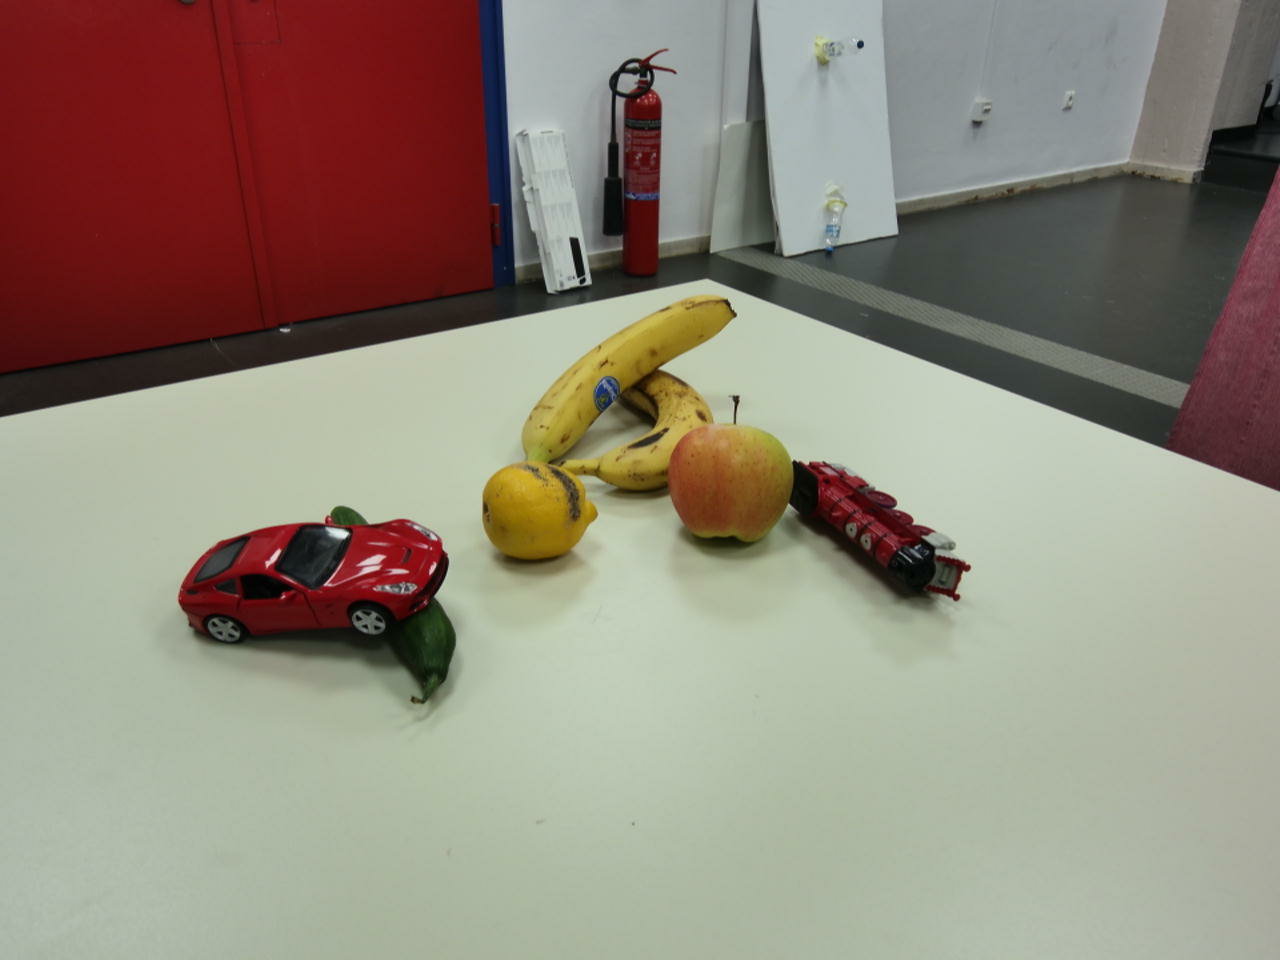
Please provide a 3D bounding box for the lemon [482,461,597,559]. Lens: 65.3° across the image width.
[{"bbox_3d":[-0.061,0.017,0.573,0.061,0.056,0.058,-22,34,-39],"label":"lemon"}]
